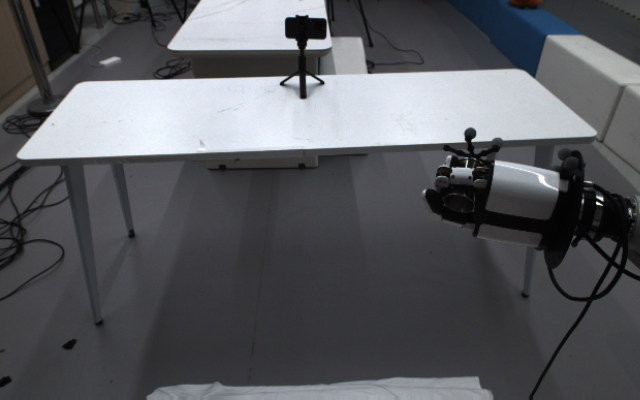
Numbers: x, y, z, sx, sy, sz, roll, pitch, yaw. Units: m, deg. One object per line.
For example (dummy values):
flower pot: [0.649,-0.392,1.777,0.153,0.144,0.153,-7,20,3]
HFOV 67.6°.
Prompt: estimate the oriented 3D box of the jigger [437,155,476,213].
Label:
jigger: [0.203,-0.026,0.678,0.043,0.043,0.071,16,58,19]
